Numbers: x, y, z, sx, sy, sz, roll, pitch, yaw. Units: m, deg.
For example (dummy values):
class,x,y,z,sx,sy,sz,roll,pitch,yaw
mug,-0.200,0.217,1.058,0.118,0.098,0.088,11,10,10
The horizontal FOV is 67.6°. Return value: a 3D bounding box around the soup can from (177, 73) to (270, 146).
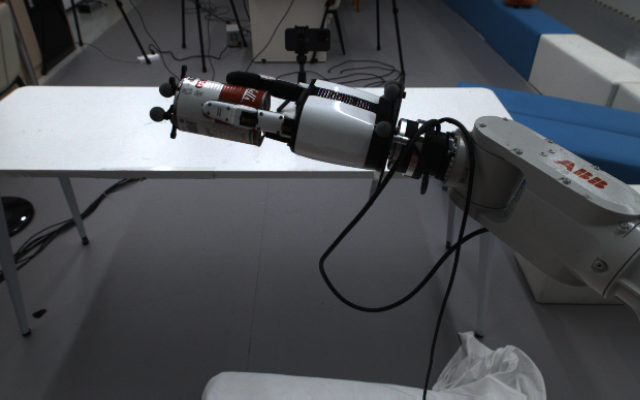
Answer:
class,x,y,z,sx,sy,sz,roll,pitch,yaw
soup can,-0.115,-0.107,0.587,0.101,0.067,0.067,11,35,0
